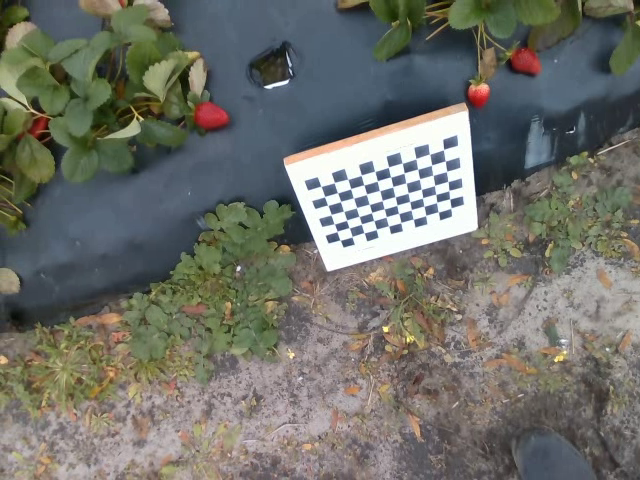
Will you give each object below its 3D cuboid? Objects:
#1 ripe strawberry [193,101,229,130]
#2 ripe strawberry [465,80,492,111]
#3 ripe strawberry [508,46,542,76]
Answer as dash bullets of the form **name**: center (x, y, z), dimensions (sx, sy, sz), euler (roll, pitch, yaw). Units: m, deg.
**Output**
- **ripe strawberry**: center (-0.172, -0.193, 0.934), dimensions (0.064, 0.049, 0.046), euler (16, -32, 21)
- **ripe strawberry**: center (0.244, -0.221, 0.901), dimensions (0.036, 0.041, 0.028), euler (-9, 29, 13)
- **ripe strawberry**: center (0.307, -0.267, 0.883), dimensions (0.059, 0.042, 0.044), euler (33, -44, -9)
